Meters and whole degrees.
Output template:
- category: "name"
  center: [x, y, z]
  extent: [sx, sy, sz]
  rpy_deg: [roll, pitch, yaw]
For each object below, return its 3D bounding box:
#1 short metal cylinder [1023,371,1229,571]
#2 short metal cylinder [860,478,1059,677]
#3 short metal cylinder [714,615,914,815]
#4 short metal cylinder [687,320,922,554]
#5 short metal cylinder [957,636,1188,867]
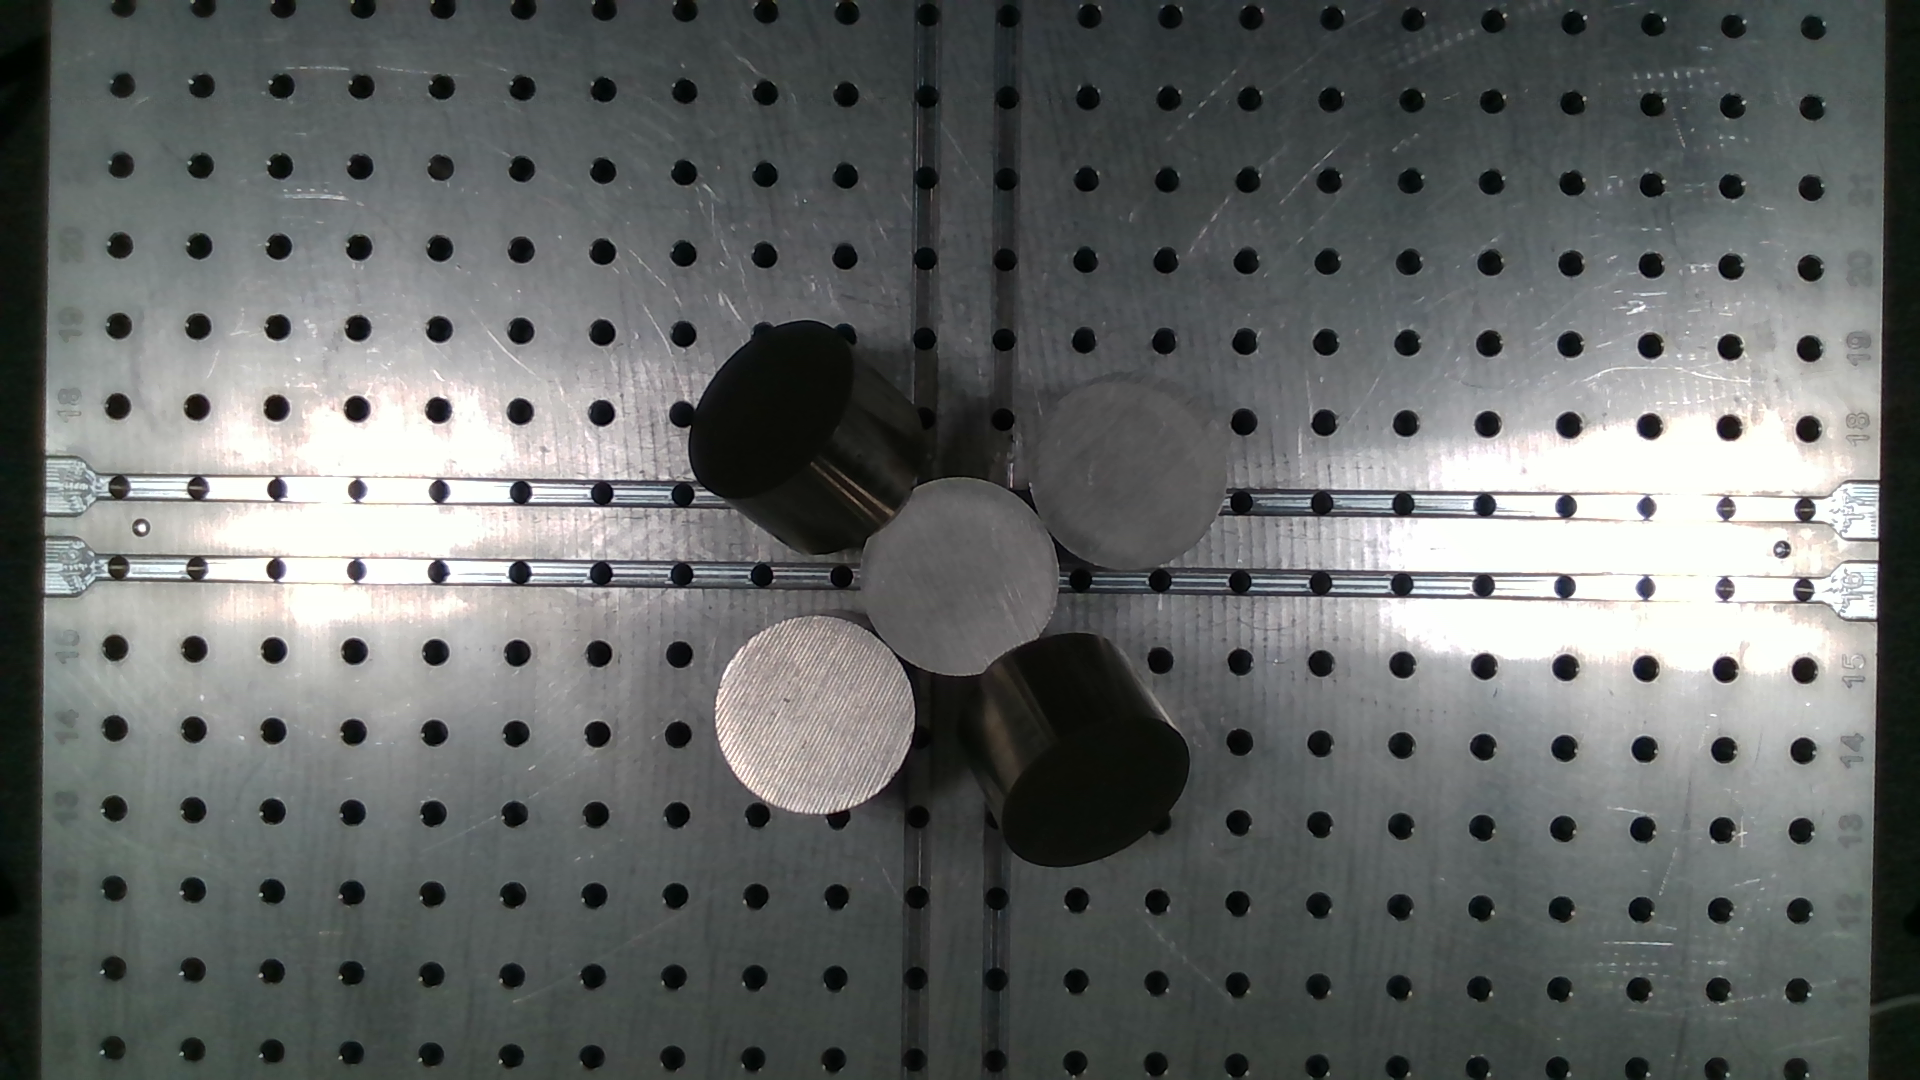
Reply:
- category: "short metal cylinder"
  center: [0.068, -0.028, 0.576]
  extent: [0.080, 0.050, 0.080]
  rpy_deg: [0, 90, 0]
- category: "short metal cylinder"
  center: [0.000, 0.015, 0.577]
  extent: [0.080, 0.050, 0.080]
  rpy_deg: [0, 90, 0]
- category: "short metal cylinder"
  center: [-0.059, 0.070, 0.577]
  extent: [0.080, 0.050, 0.080]
  rpy_deg: [0, 90, 0]
- category: "short metal cylinder"
  center: [-0.063, -0.041, 0.556]
  extent: [0.080, 0.050, 0.080]
  rpy_deg: [-16, 56, 26]
- category: "short metal cylinder"
  center: [0.045, 0.086, 0.557]
  extent: [0.080, 0.050, 0.080]
  rpy_deg: [-12, 129, -16]
